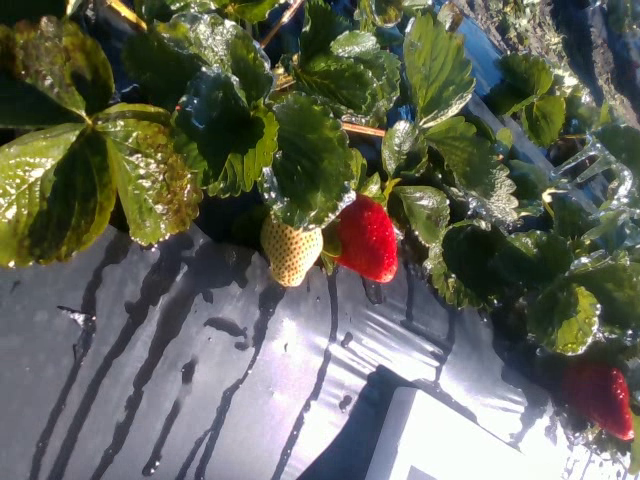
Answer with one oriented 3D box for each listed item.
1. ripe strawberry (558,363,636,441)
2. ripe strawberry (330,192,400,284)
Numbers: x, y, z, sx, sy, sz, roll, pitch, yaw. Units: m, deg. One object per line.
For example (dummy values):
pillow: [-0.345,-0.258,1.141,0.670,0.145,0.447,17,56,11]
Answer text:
ripe strawberry: [0.204,0.114,0.419,0.049,0.061,0.044,28,-53,-27]
ripe strawberry: [0.025,0.007,0.326,0.043,0.046,0.061,20,31,-29]
